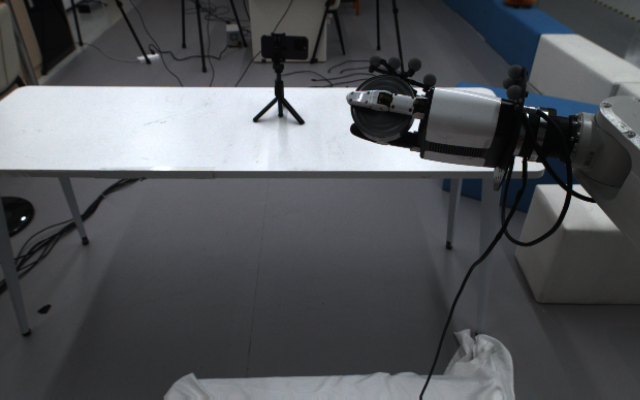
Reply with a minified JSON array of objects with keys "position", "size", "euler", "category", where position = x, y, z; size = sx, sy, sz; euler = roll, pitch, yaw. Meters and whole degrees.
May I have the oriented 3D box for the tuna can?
[{"position":[0.087,-0.125,0.655],"size":[0.085,0.085,0.034],"euler":[13,-6,16],"category":"tuna can"}]
